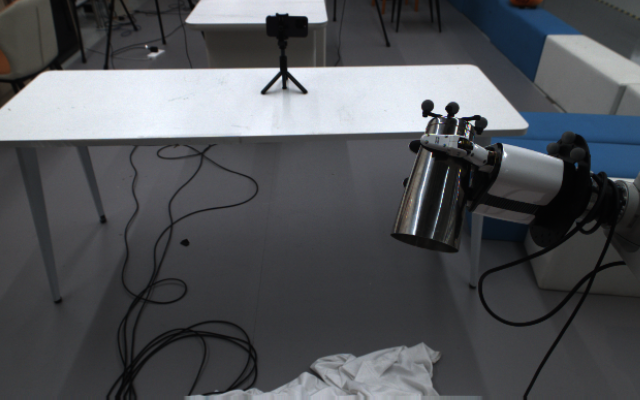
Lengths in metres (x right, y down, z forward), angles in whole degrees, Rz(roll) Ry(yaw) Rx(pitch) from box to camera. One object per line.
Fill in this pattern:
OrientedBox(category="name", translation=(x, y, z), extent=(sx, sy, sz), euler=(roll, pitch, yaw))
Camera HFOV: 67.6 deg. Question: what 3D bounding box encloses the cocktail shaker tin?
OrientedBox(category="cocktail shaker tin", translation=(0.164, -0.026, 0.661), extent=(0.093, 0.093, 0.170), euler=(13, 79, 15))
